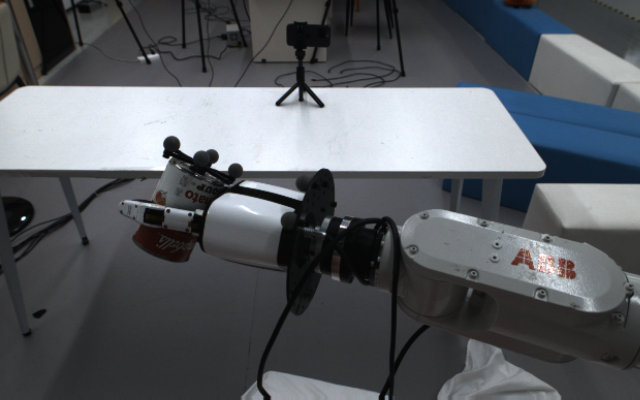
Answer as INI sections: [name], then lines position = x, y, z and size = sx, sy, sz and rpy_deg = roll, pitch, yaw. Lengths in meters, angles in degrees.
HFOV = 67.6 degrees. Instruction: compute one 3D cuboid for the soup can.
[soup can]
position = -0.158, 0.012, 0.548
size = 0.067, 0.101, 0.067
rpy_deg = 27, 6, -3
